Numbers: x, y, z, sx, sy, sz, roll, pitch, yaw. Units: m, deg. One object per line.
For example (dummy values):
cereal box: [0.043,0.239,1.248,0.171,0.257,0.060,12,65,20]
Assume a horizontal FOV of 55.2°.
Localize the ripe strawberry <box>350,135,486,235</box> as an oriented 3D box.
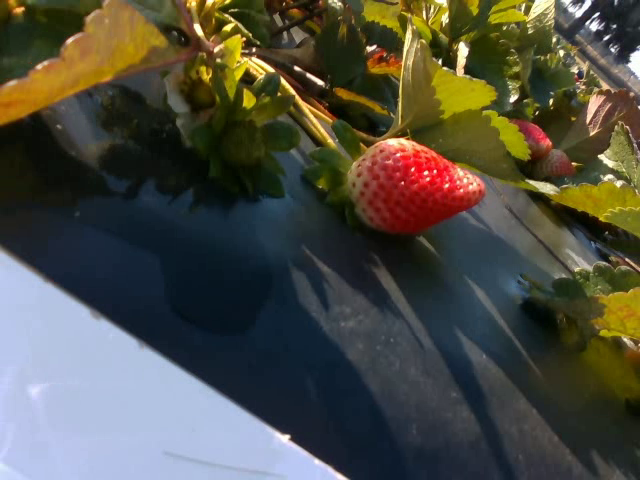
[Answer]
ripe strawberry: [0.028,-0.013,0.173,0.045,0.037,0.042,-5,-28,41]
